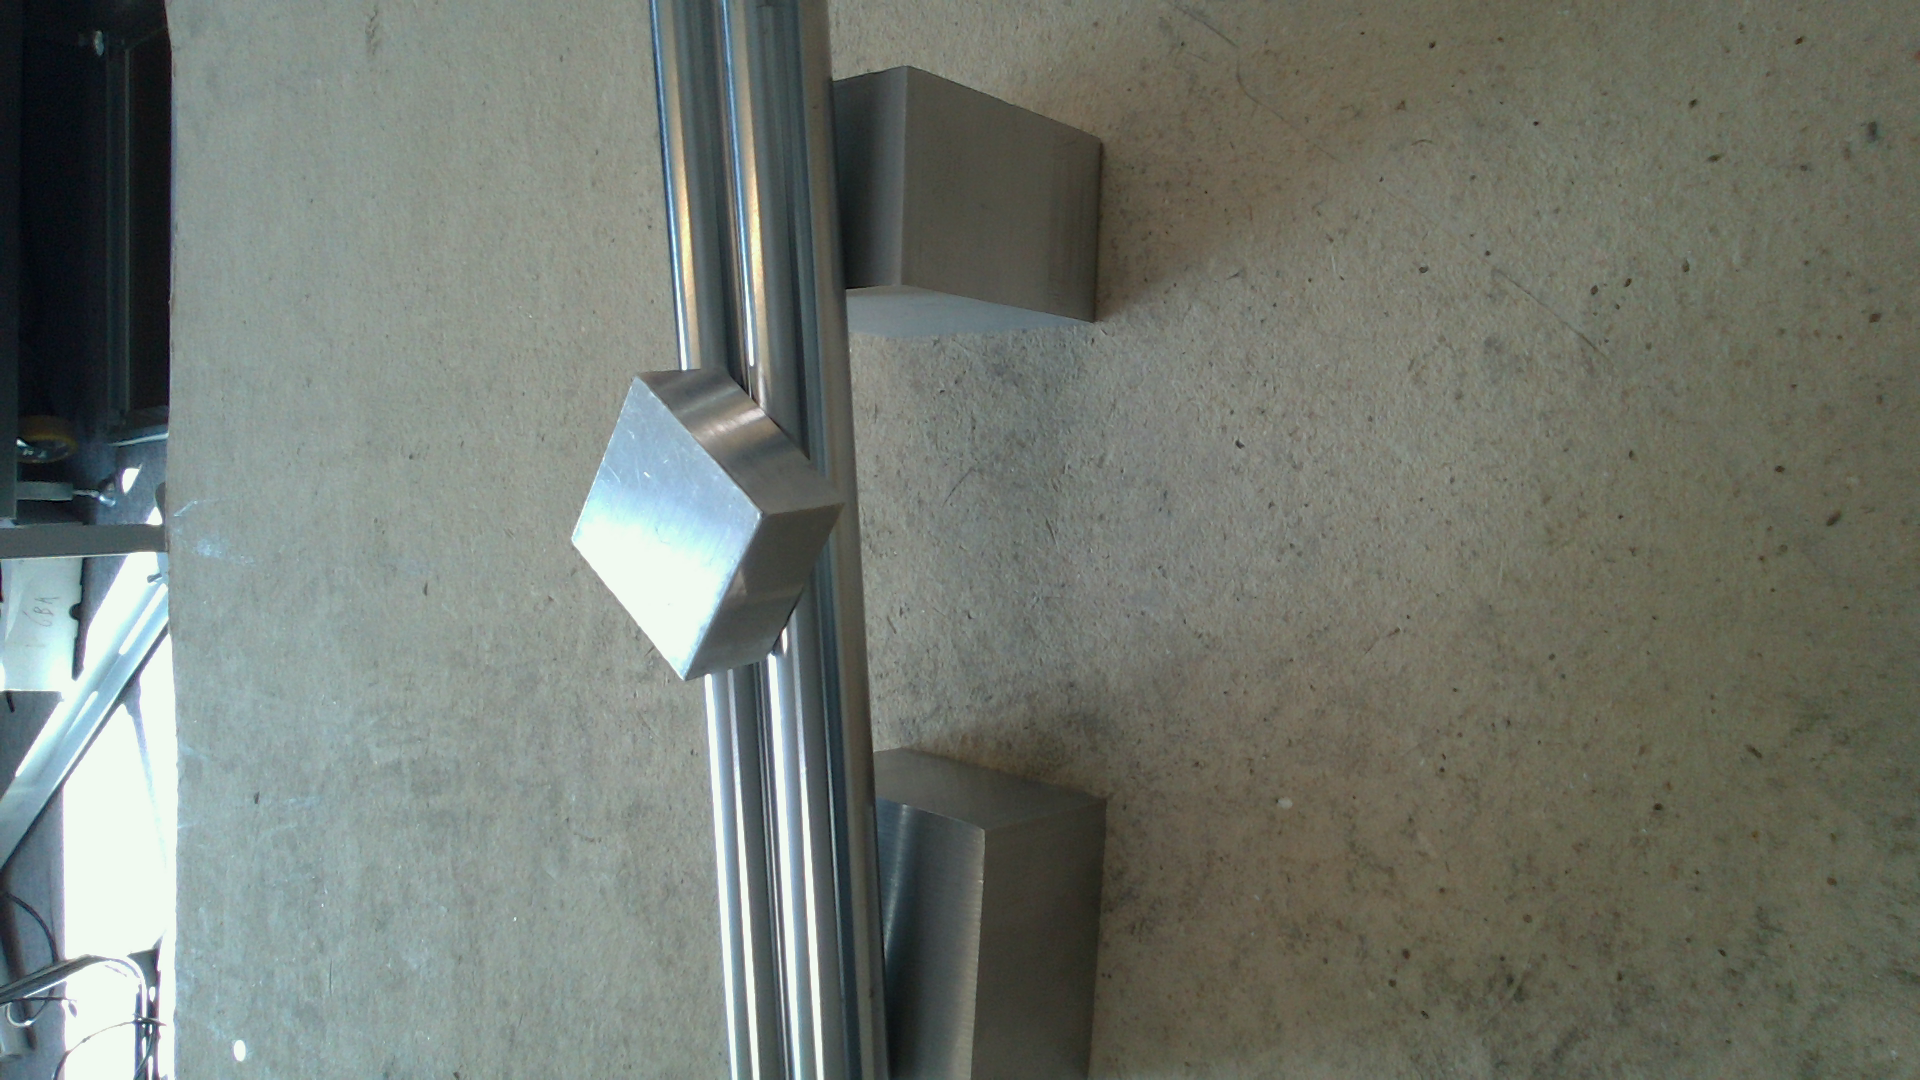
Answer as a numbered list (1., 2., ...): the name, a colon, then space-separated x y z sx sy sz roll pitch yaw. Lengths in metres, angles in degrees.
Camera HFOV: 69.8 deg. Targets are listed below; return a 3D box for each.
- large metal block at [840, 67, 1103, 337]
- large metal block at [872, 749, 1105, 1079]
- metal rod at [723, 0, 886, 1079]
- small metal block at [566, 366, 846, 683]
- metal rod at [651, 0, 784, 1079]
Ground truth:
1. large metal block: -0.018 -0.086 0.374 0.080 0.080 0.050 4 93 40
2. large metal block: -0.009 0.107 0.386 0.080 0.050 0.080 6 94 40
3. metal rod: -0.037 -0.004 0.330 0.025 0.025 0.300 4 100 40
4. small metal block: -0.060 -0.004 0.317 0.050 0.025 0.050 46 123 24
5. metal rod: -0.056 -0.006 0.347 0.025 0.025 0.300 4 100 40
